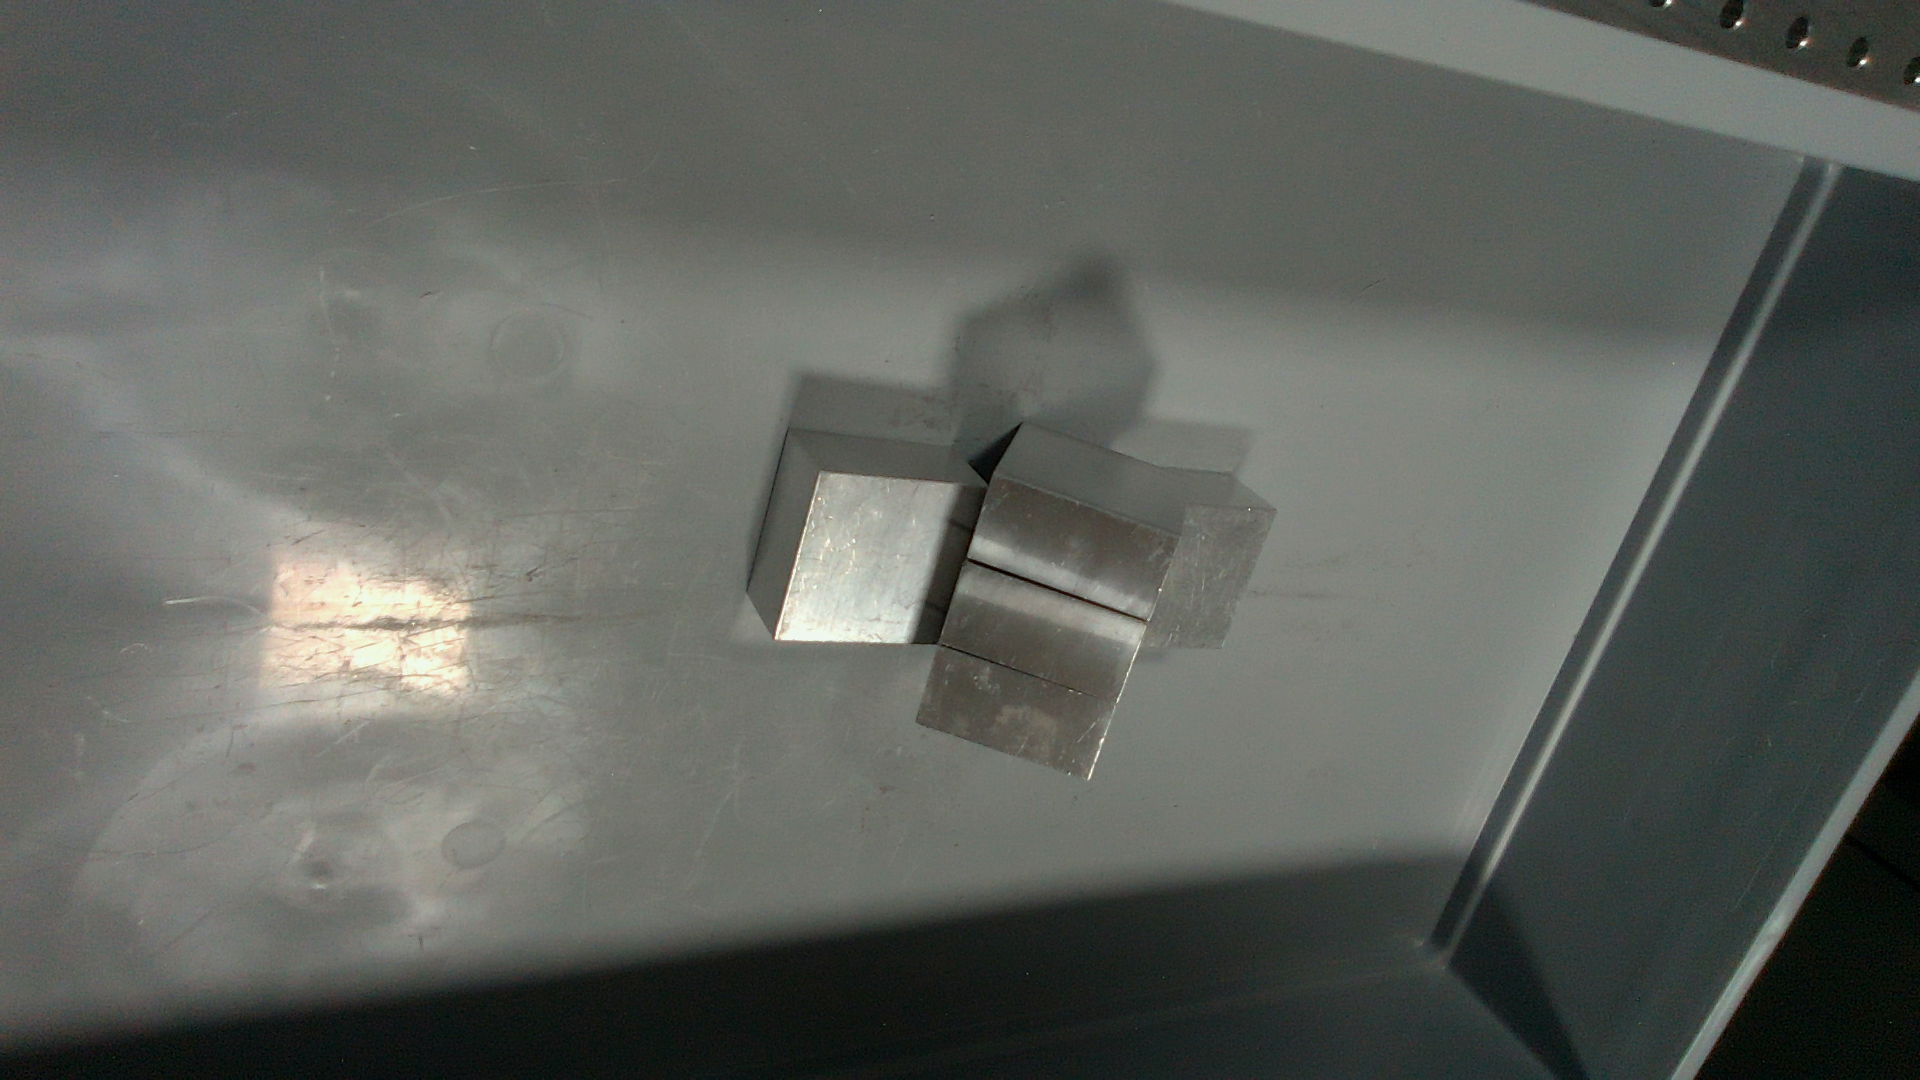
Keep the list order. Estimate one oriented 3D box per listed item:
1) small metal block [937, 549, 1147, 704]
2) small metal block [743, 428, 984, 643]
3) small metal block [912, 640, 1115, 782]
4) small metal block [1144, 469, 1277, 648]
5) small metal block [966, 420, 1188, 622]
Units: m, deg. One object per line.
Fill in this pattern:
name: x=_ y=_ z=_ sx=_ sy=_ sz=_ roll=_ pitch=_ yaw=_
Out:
small metal block: x=0.025 y=0.016 z=0.382 sx=0.050 sy=0.050 sz=0.025 roll=18 pitch=113 yaw=4
small metal block: x=-0.026 y=0.000 z=0.373 sx=0.050 sy=0.025 sz=0.050 roll=4 pitch=117 yaw=-30
small metal block: x=0.018 y=0.038 z=0.392 sx=0.050 sy=0.050 sz=0.025 roll=18 pitch=113 yaw=4
small metal block: x=0.063 y=0.005 z=0.425 sx=0.050 sy=0.025 sz=0.050 roll=3 pitch=117 yaw=-30
small metal block: x=0.033 y=-0.007 z=0.372 sx=0.050 sy=0.050 sz=0.025 roll=19 pitch=113 yaw=3
